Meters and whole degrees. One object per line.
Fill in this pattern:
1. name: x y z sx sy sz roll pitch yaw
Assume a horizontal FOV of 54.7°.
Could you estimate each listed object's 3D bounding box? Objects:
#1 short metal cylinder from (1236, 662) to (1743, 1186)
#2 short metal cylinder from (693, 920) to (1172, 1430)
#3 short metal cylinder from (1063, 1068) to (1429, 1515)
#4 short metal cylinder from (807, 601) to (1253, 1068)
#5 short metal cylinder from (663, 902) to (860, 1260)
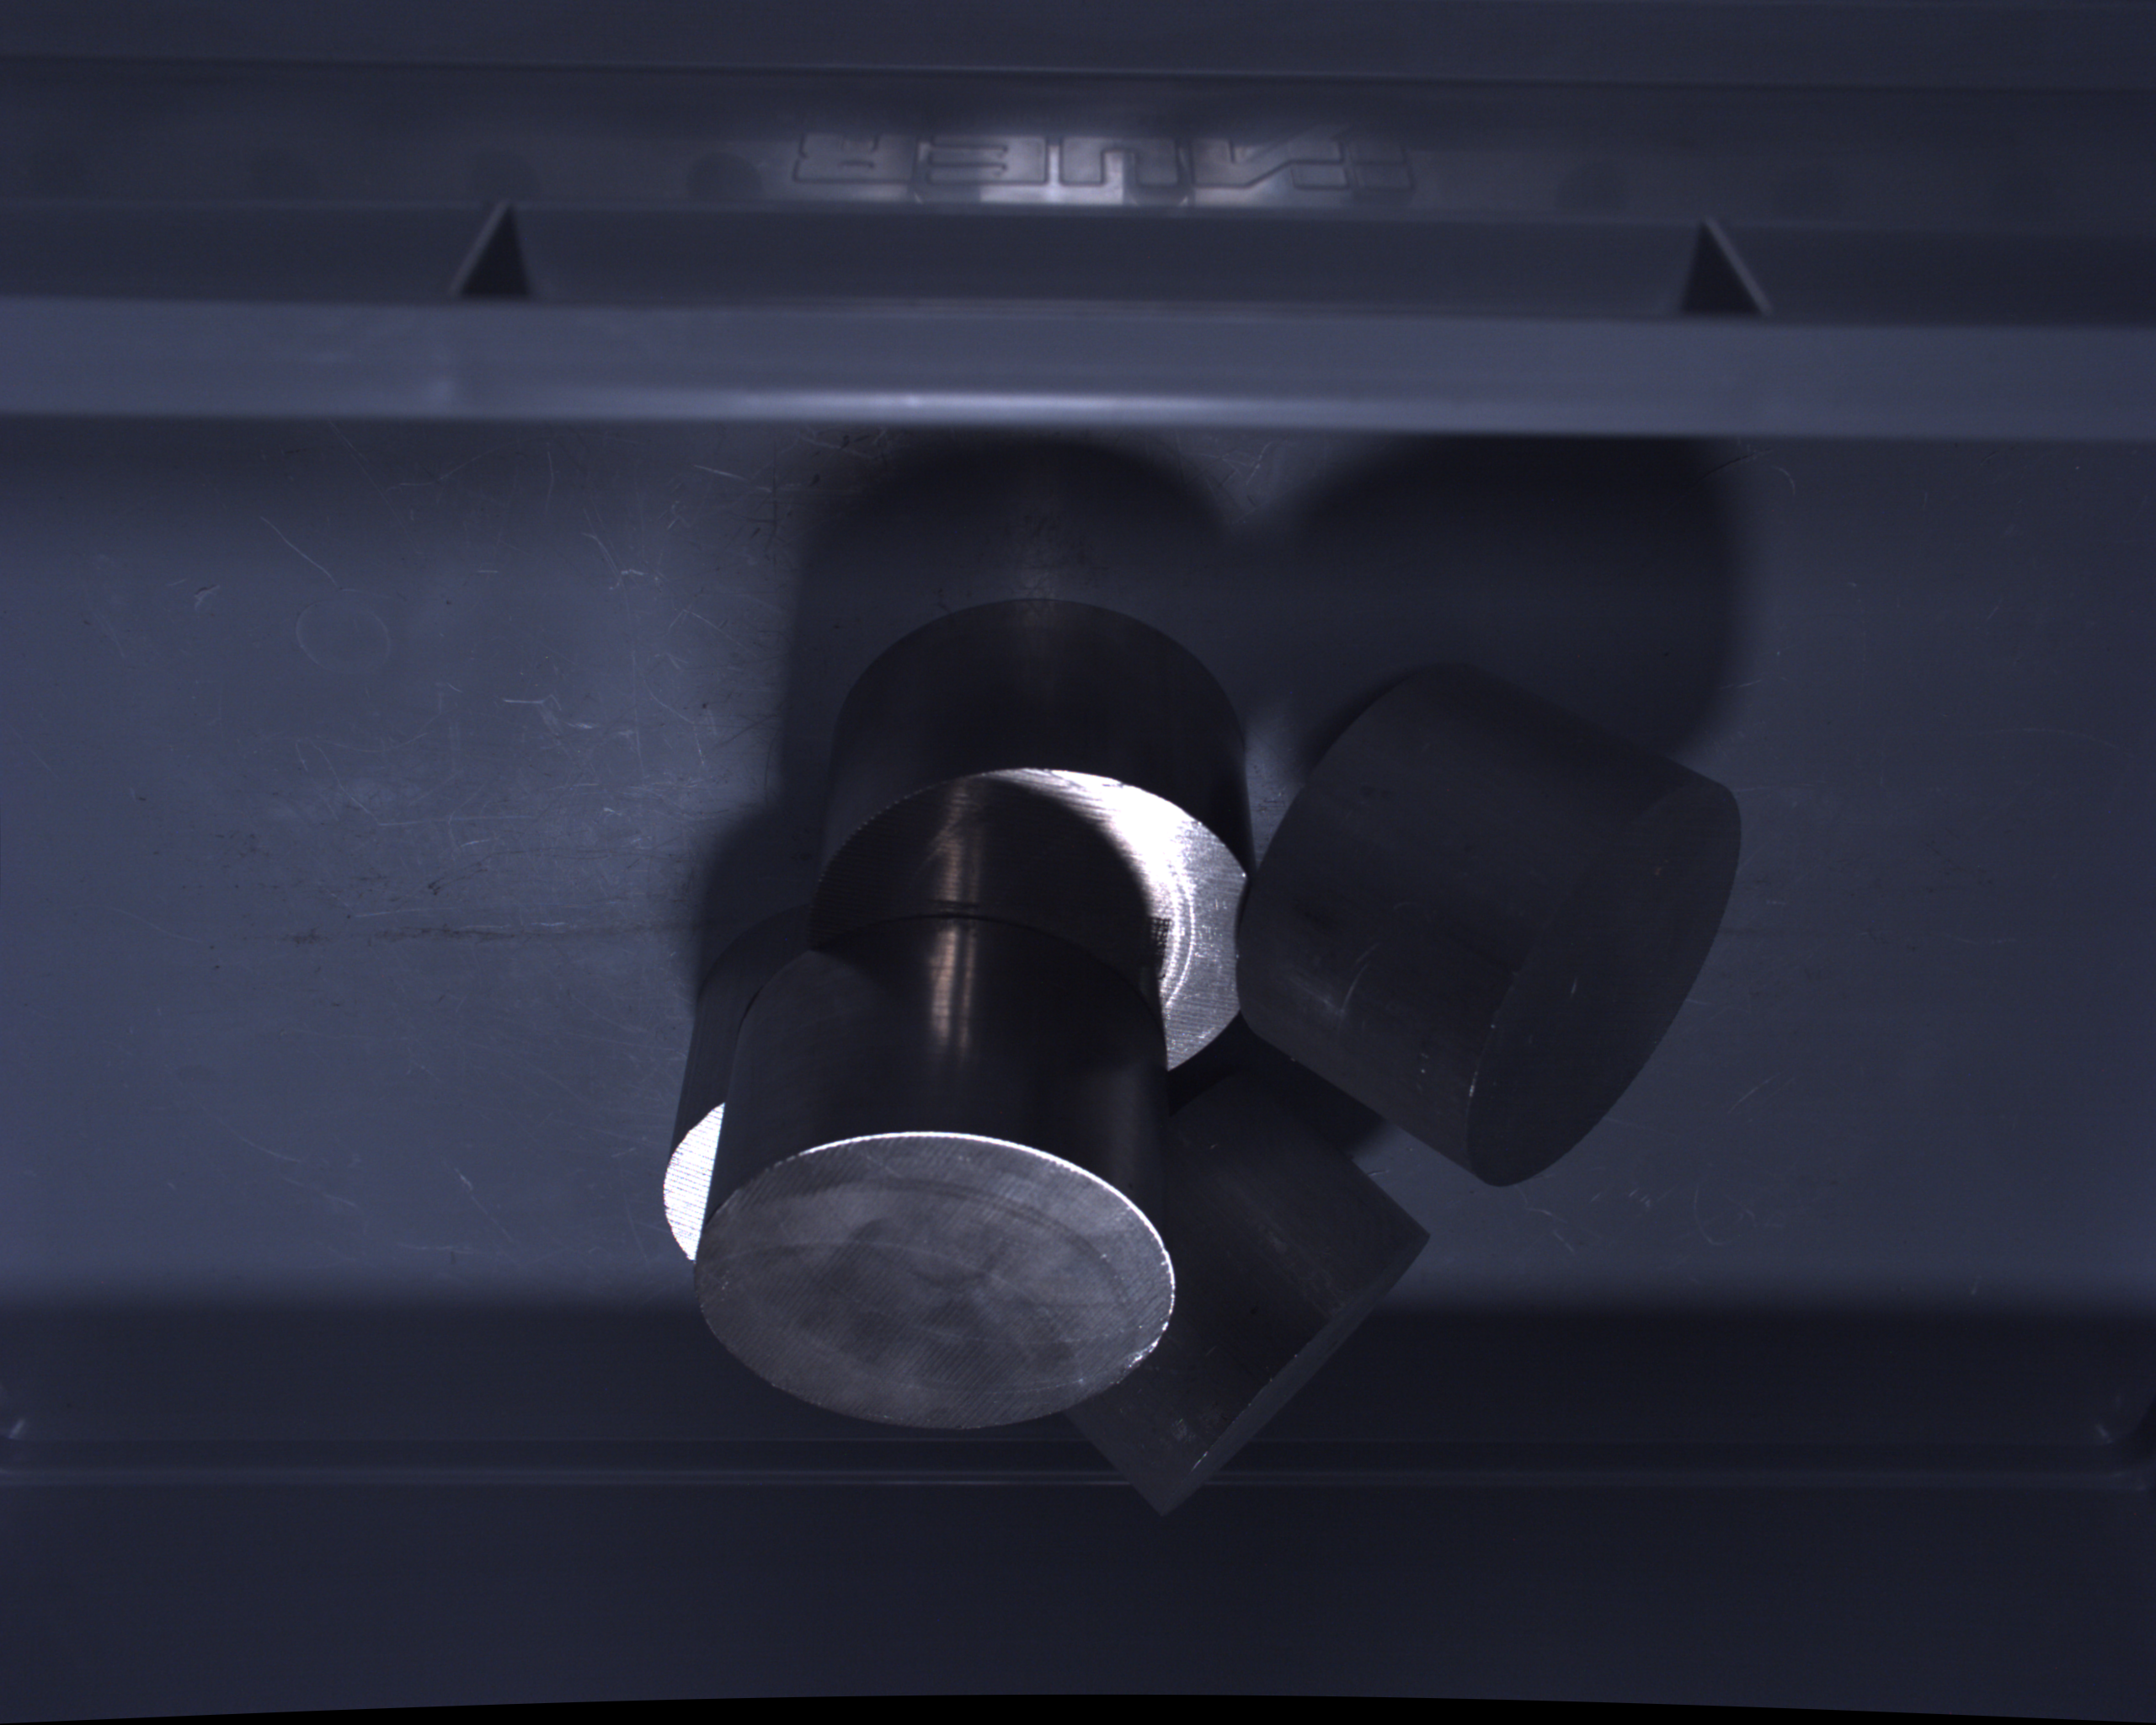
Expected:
1. short metal cylinder: 0.074 0.011 0.374 0.081 0.050 0.079 -32 139 -33
2. short metal cylinder: -0.024 0.056 0.371 0.081 0.050 0.079 0 130 0
3. short metal cylinder: 0.028 0.090 0.439 0.050 0.081 0.079 43 128 17
4. short metal cylinder: -0.008 -0.002 0.389 0.081 0.050 0.079 0 130 0
5. short metal cylinder: -0.042 0.053 0.436 0.081 0.050 0.079 0 130 0
